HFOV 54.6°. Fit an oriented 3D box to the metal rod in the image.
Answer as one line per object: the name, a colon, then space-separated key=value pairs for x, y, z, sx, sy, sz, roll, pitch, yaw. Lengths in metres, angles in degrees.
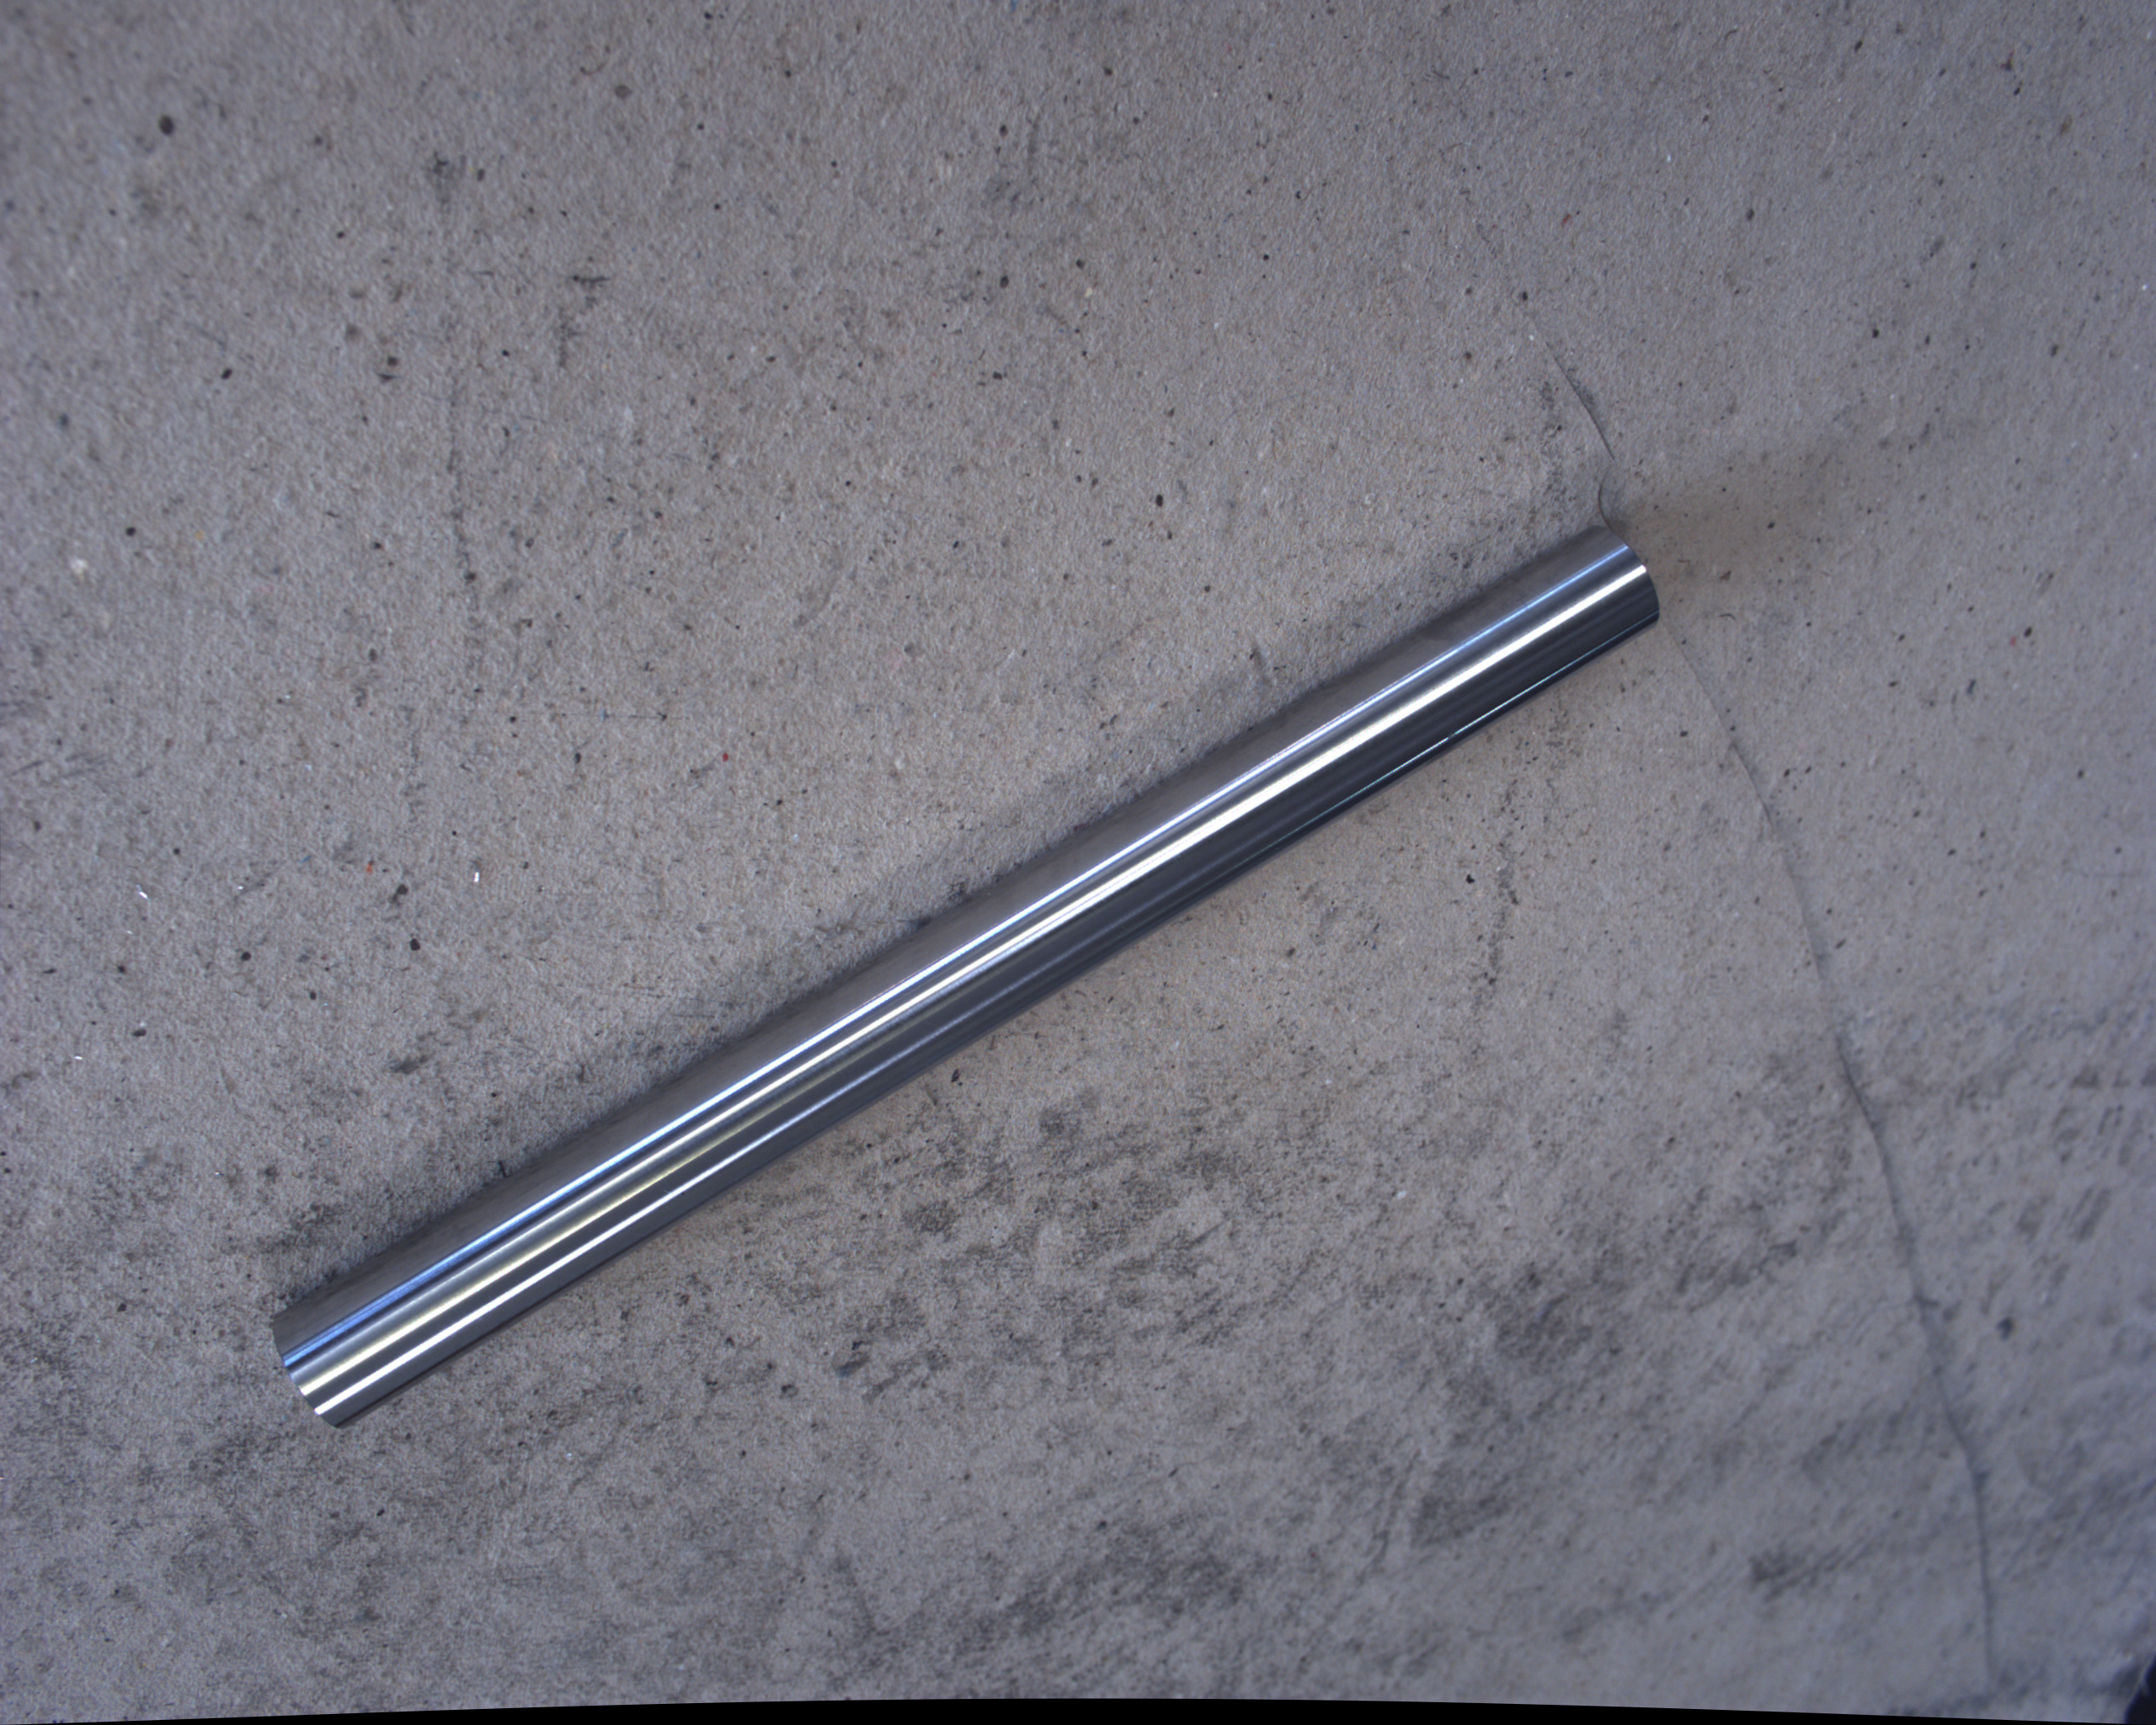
metal rod: x=-0.015 y=0.018 z=0.411 sx=0.301 sy=0.025 sz=0.025 roll=-31 pitch=129 yaw=-8
